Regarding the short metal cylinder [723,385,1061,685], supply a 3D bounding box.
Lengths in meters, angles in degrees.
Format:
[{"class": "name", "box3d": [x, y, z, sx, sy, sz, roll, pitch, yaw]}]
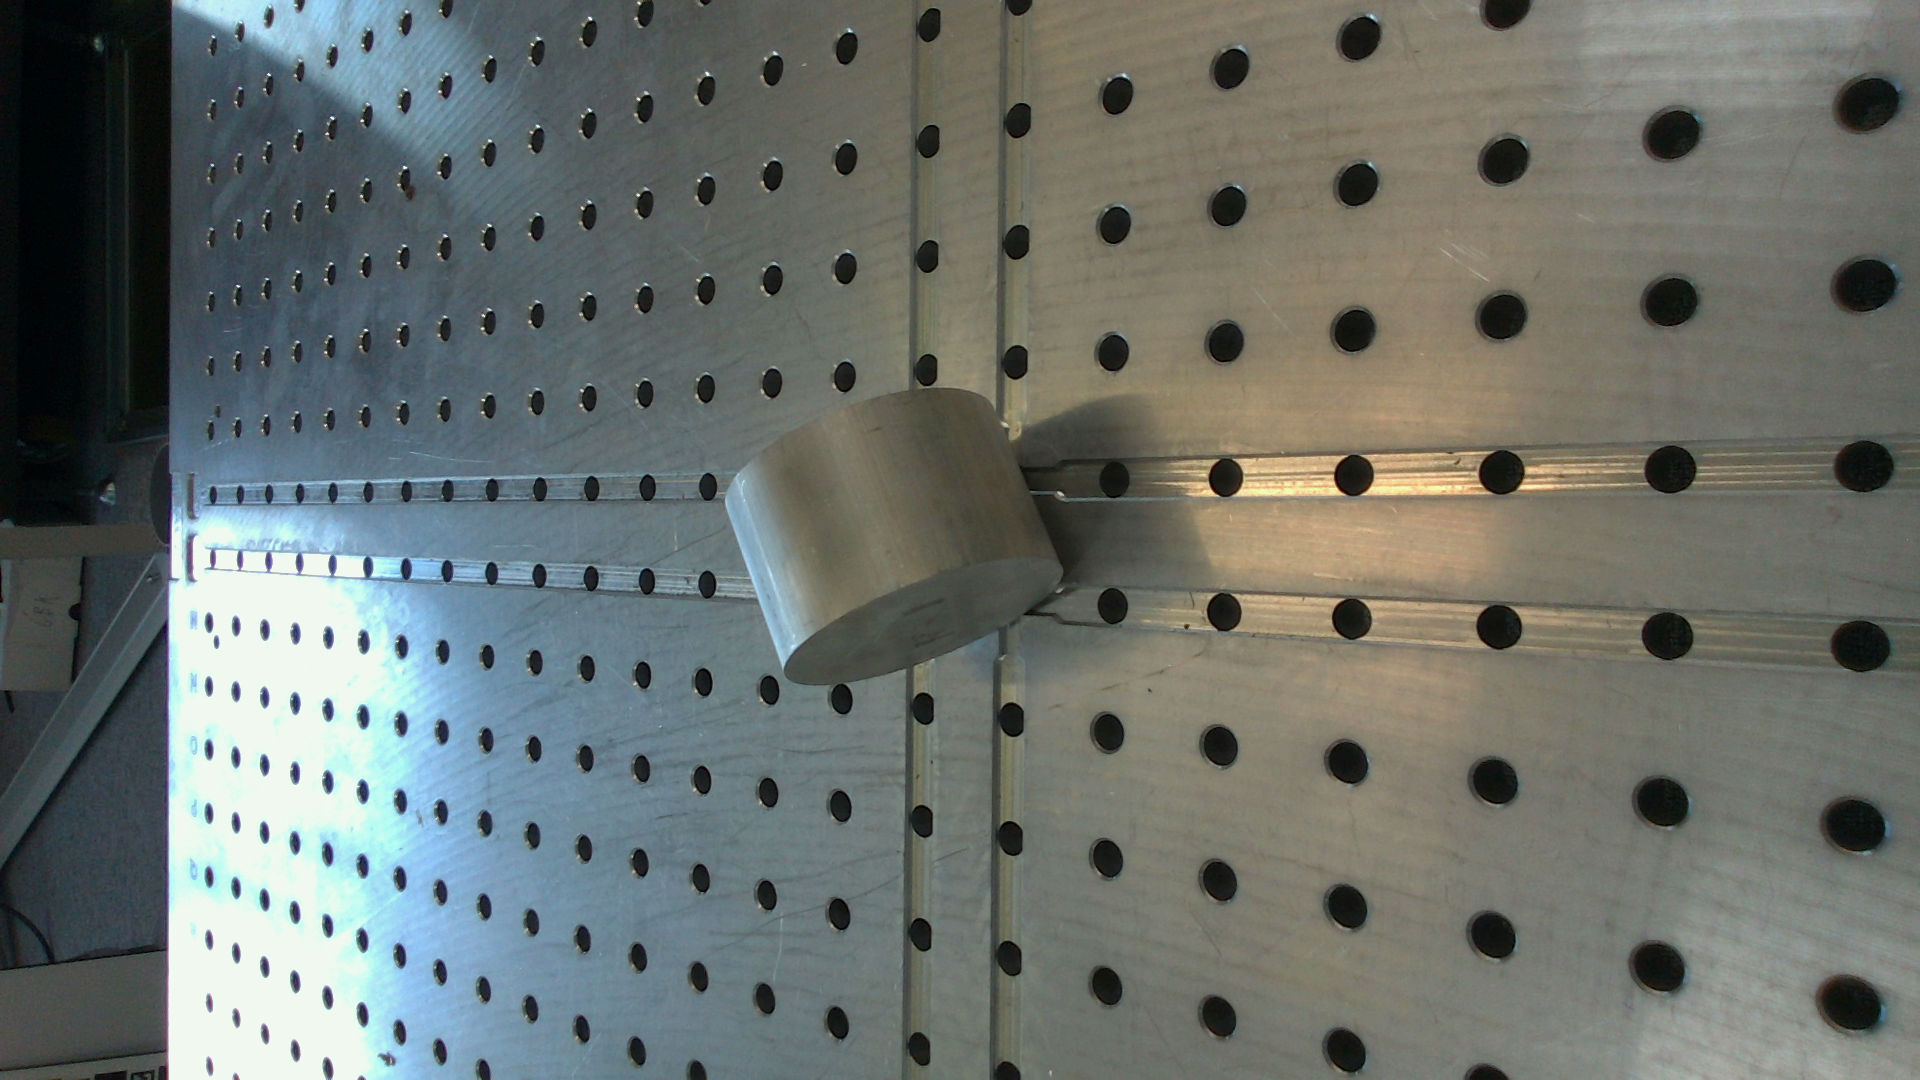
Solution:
[{"class": "short metal cylinder", "box3d": [-0.019, 0.000, 0.377, 0.080, 0.080, 0.050, -35, 67, 35]}]
